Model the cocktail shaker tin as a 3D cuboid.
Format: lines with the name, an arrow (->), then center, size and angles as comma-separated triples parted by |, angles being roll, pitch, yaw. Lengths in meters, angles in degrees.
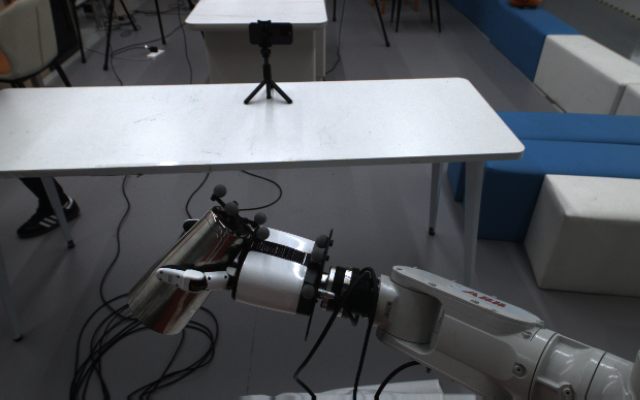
cocktail shaker tin -> -0.172, 0.087, 0.663 | 0.093, 0.170, 0.093 | 41, 14, -12
